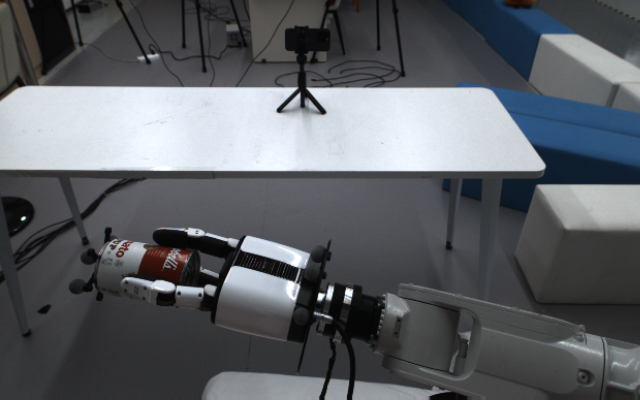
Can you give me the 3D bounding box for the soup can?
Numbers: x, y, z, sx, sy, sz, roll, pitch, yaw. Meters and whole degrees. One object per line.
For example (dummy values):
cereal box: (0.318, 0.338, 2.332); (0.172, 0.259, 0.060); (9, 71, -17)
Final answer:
soup can: (-0.199, 0.087, 0.572); (0.101, 0.067, 0.067); (9, 35, 2)
